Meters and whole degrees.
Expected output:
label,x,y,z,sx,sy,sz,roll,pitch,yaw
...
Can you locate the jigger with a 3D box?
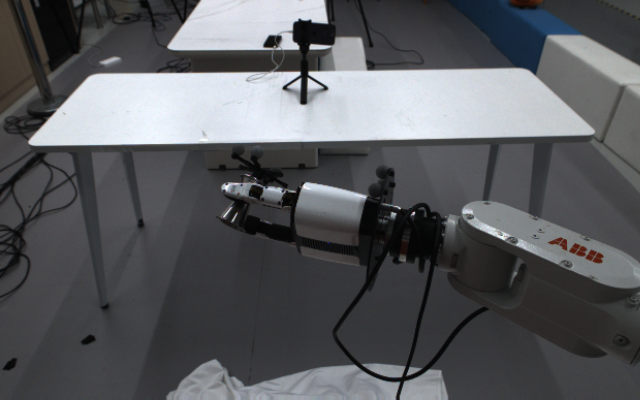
label,x,y,z,sx,sy,sz,roll,pitch,yaw
jigger,-0.106,0.001,0.649,0.043,0.043,0.071,20,73,24
